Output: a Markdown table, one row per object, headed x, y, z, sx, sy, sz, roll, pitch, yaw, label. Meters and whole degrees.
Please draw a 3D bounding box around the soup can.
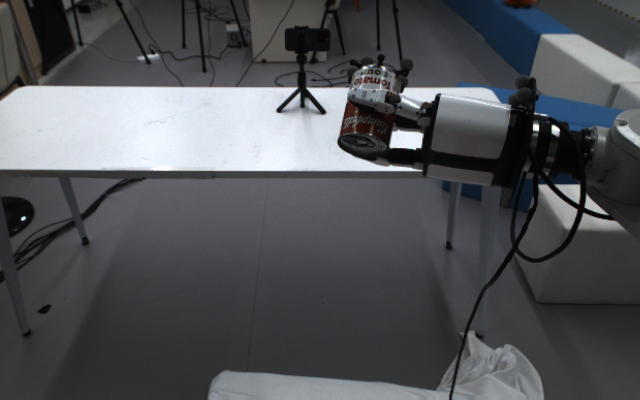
| x | y | z | sx | sy | sz | roll | pitch | yaw | label |
| --- | --- | --- | --- | --- | --- | --- | --- | --- | --- |
| 0.066 | -0.117 | 0.633 | 0.067 | 0.067 | 0.101 | 9 | 72 | 10 | soup can |
